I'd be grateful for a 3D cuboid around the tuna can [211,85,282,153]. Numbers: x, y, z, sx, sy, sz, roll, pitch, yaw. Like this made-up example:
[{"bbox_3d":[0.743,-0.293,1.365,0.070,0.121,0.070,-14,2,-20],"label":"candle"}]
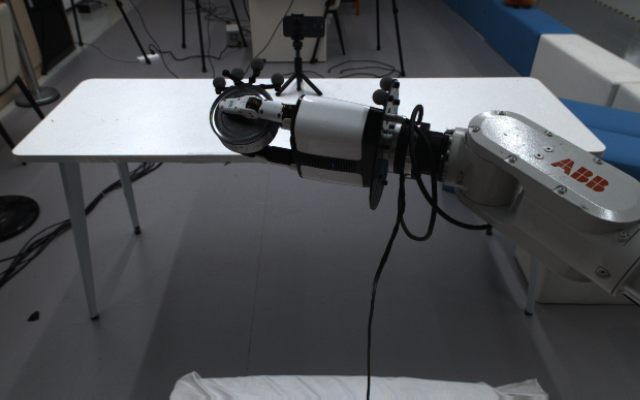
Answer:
[{"bbox_3d":[-0.094,-0.104,0.628,0.085,0.034,0.085,-2,69,6],"label":"tuna can"}]
